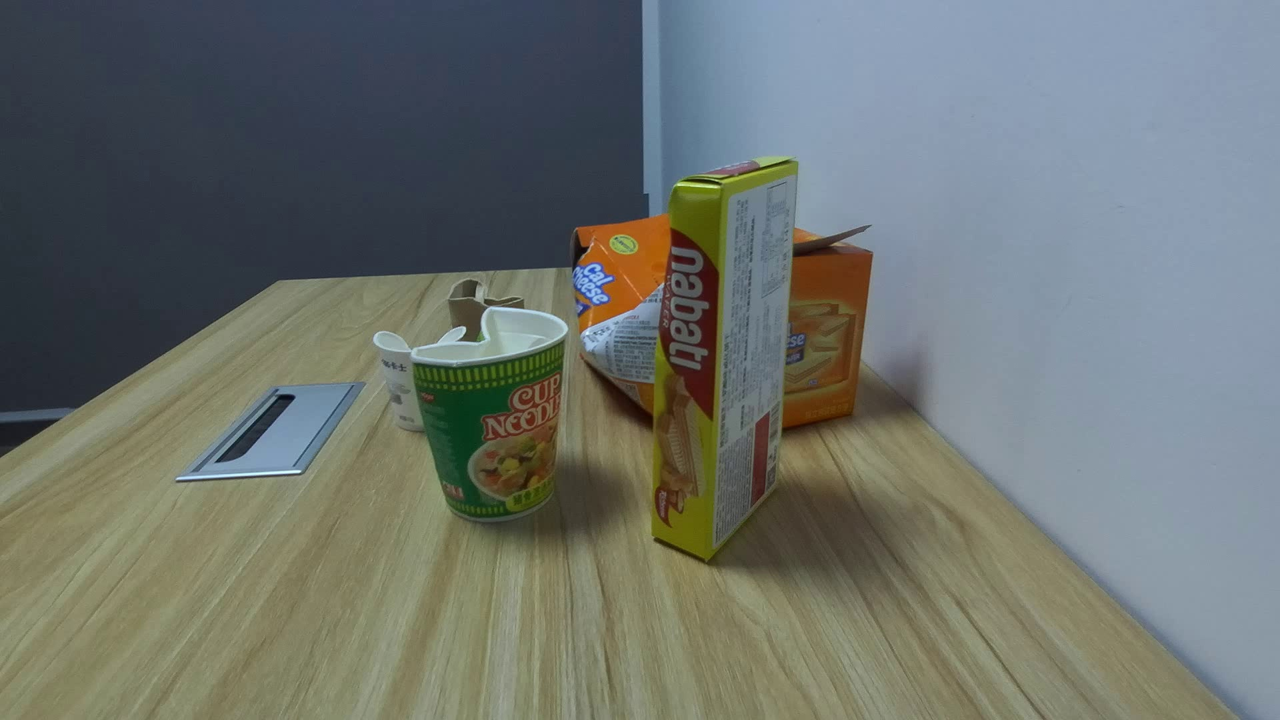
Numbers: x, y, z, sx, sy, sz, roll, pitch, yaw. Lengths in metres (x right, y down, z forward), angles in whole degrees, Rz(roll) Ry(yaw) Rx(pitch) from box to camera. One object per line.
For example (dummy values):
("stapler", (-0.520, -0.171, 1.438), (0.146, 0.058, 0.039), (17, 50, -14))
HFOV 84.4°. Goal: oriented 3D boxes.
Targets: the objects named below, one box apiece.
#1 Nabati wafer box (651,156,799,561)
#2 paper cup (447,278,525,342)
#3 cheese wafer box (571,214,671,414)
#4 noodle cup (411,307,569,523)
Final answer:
("Nabati wafer box", (0.046, -0.001, 0.379), (0.042, 0.203, 0.097), (16, 30, 32))
("paper cup", (-0.133, -0.025, 0.625), (0.058, 0.083, 0.066), (-2, 23, -7))
("cheese wafer box", (0.047, -0.044, 0.579), (0.192, 0.145, 0.218), (-11, 24, -22))
("noodle cup", (-0.088, 0.034, 0.424), (0.086, 0.109, 0.094), (15, 28, 36))
